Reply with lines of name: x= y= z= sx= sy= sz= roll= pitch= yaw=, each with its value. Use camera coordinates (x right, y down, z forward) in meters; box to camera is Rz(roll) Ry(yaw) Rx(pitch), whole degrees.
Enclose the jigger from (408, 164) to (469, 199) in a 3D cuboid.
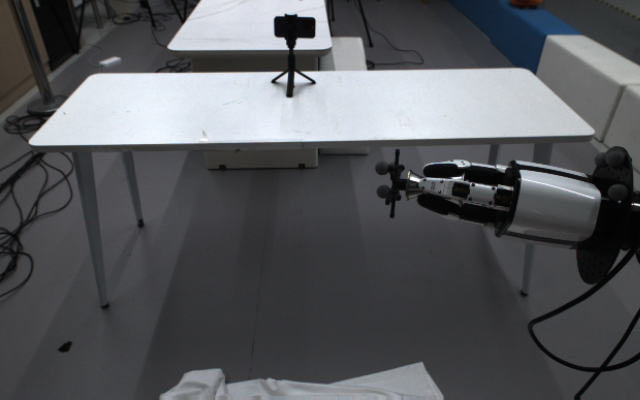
jigger: x=0.152 y=-0.021 z=0.609 sx=0.071 sy=0.043 sz=0.043 roll=5 pitch=34 yaw=19
